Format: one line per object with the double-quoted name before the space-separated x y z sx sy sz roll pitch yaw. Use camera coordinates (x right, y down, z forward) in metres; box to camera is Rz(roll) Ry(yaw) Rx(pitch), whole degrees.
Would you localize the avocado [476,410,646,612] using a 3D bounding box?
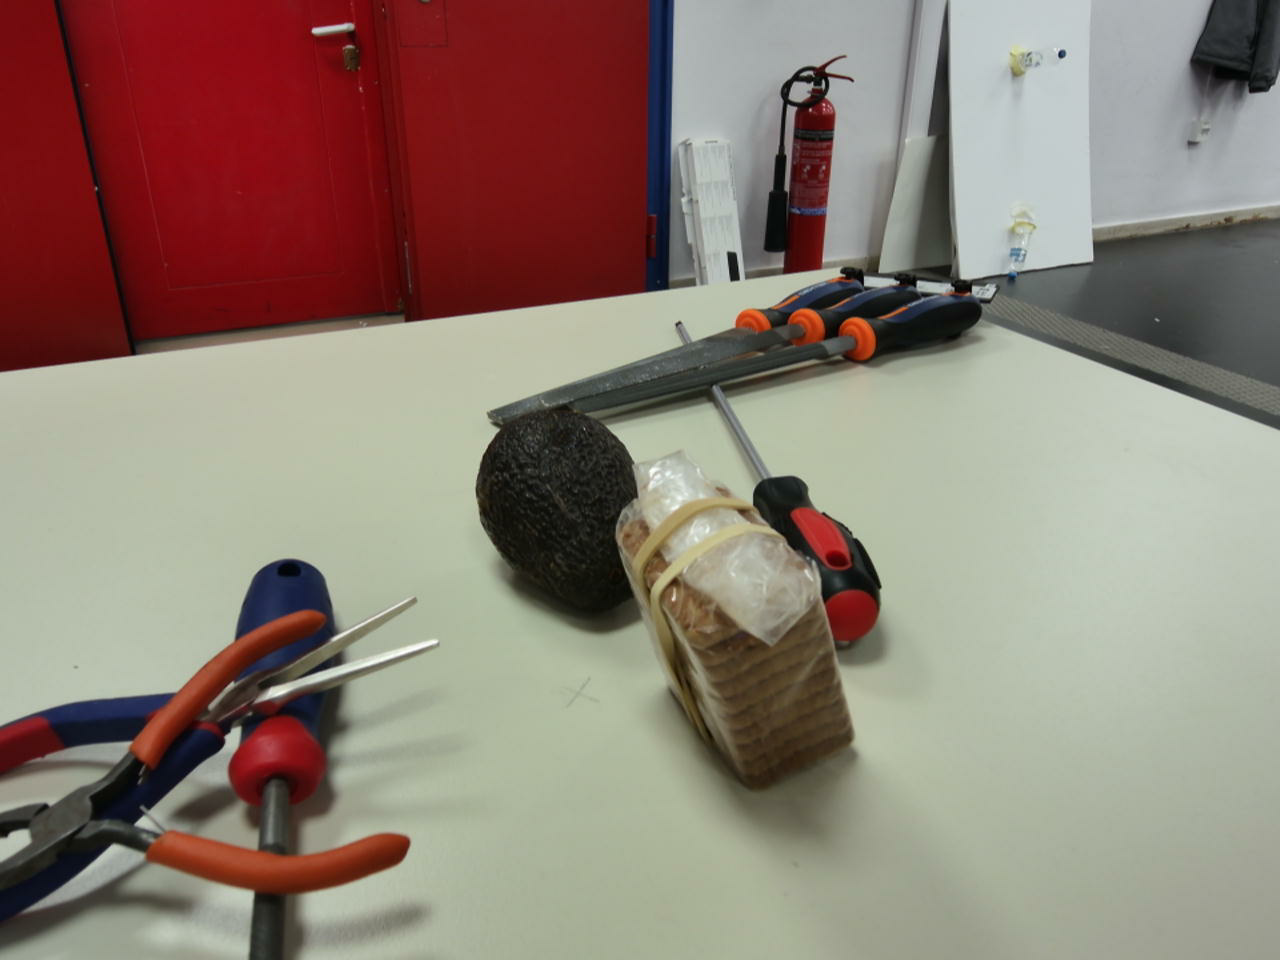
"avocado" -0.033 0.009 0.409 0.070 0.069 0.090 -1 24 -1
